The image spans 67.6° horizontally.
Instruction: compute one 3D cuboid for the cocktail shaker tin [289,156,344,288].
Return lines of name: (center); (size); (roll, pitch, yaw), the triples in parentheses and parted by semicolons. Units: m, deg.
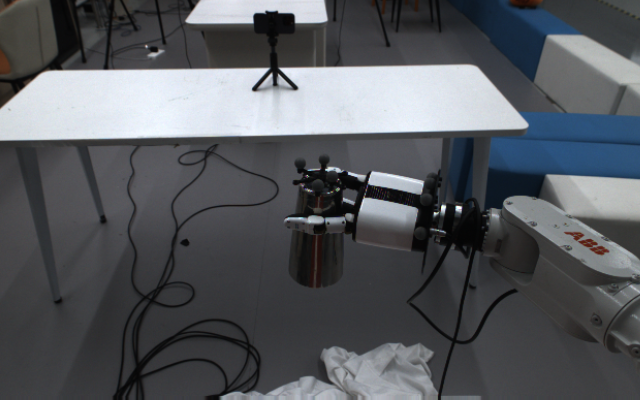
cocktail shaker tin: (0.000, 0.043, 0.770); (0.093, 0.170, 0.093); (2, 33, -1)
